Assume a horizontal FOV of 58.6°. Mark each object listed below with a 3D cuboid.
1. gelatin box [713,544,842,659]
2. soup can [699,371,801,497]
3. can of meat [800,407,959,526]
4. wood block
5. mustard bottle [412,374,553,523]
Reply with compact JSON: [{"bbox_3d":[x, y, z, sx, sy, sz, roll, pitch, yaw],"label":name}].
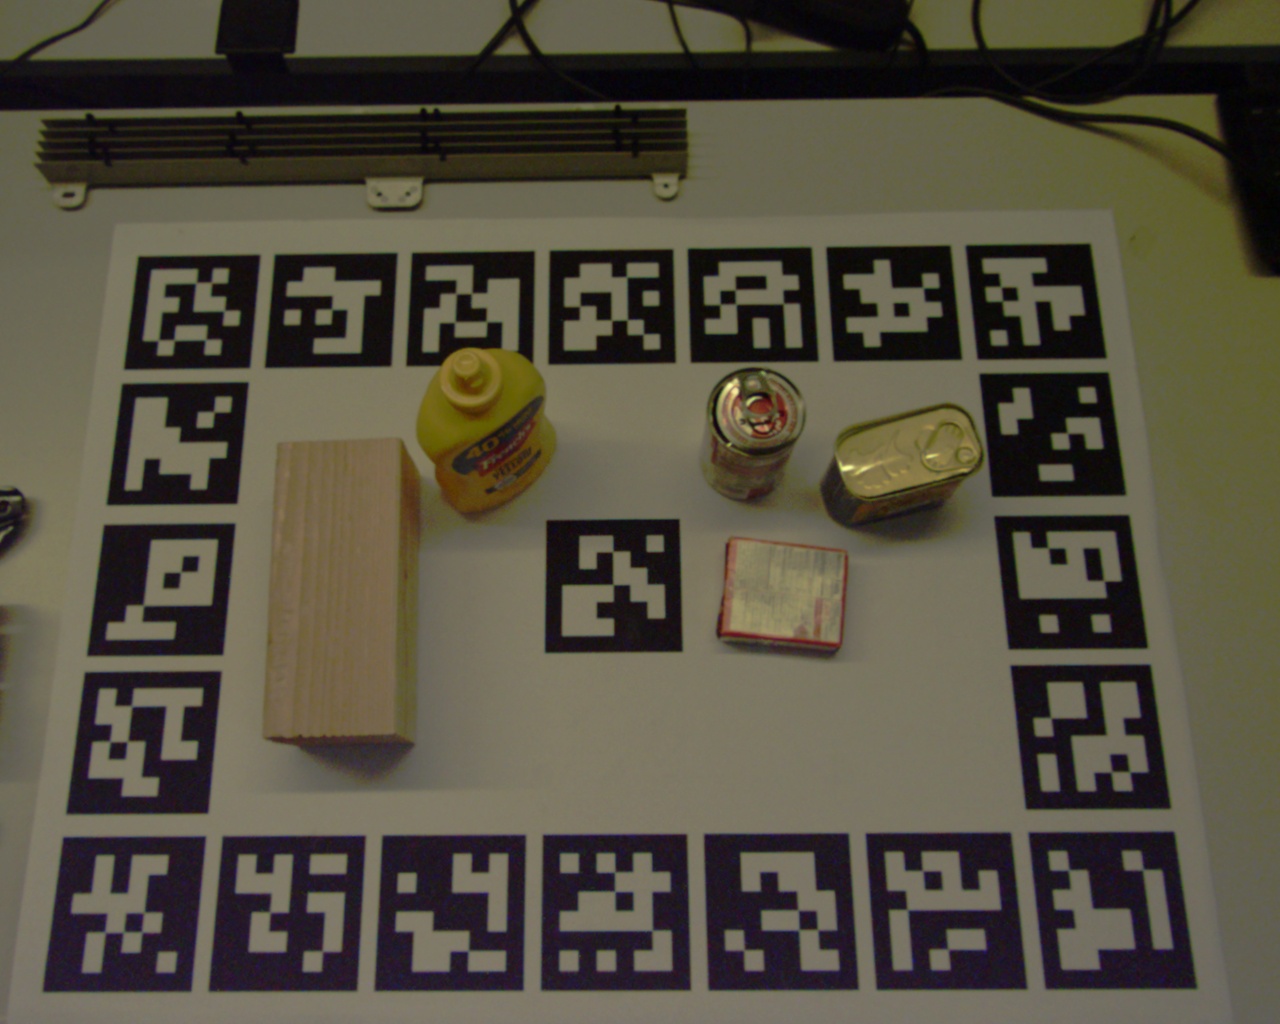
[{"bbox_3d":[0.104,0.068,0.859,0.089,0.030,0.073,8,76,5],"label":"gelatin box"},{"bbox_3d":[0.079,-0.055,0.853,0.068,0.102,0.068,0,76,0],"label":"soup can"},{"bbox_3d":[0.177,-0.031,0.864,0.101,0.083,0.058,-15,75,-6],"label":"can of meat"},{"bbox_3d":[-0.209,0.066,0.837,0.091,0.090,0.207,-1,70,-2],"label":"wood block"},{"bbox_3d":[-0.114,-0.051,0.822,0.096,0.191,0.059,-26,75,-9],"label":"mustard bottle"}]
